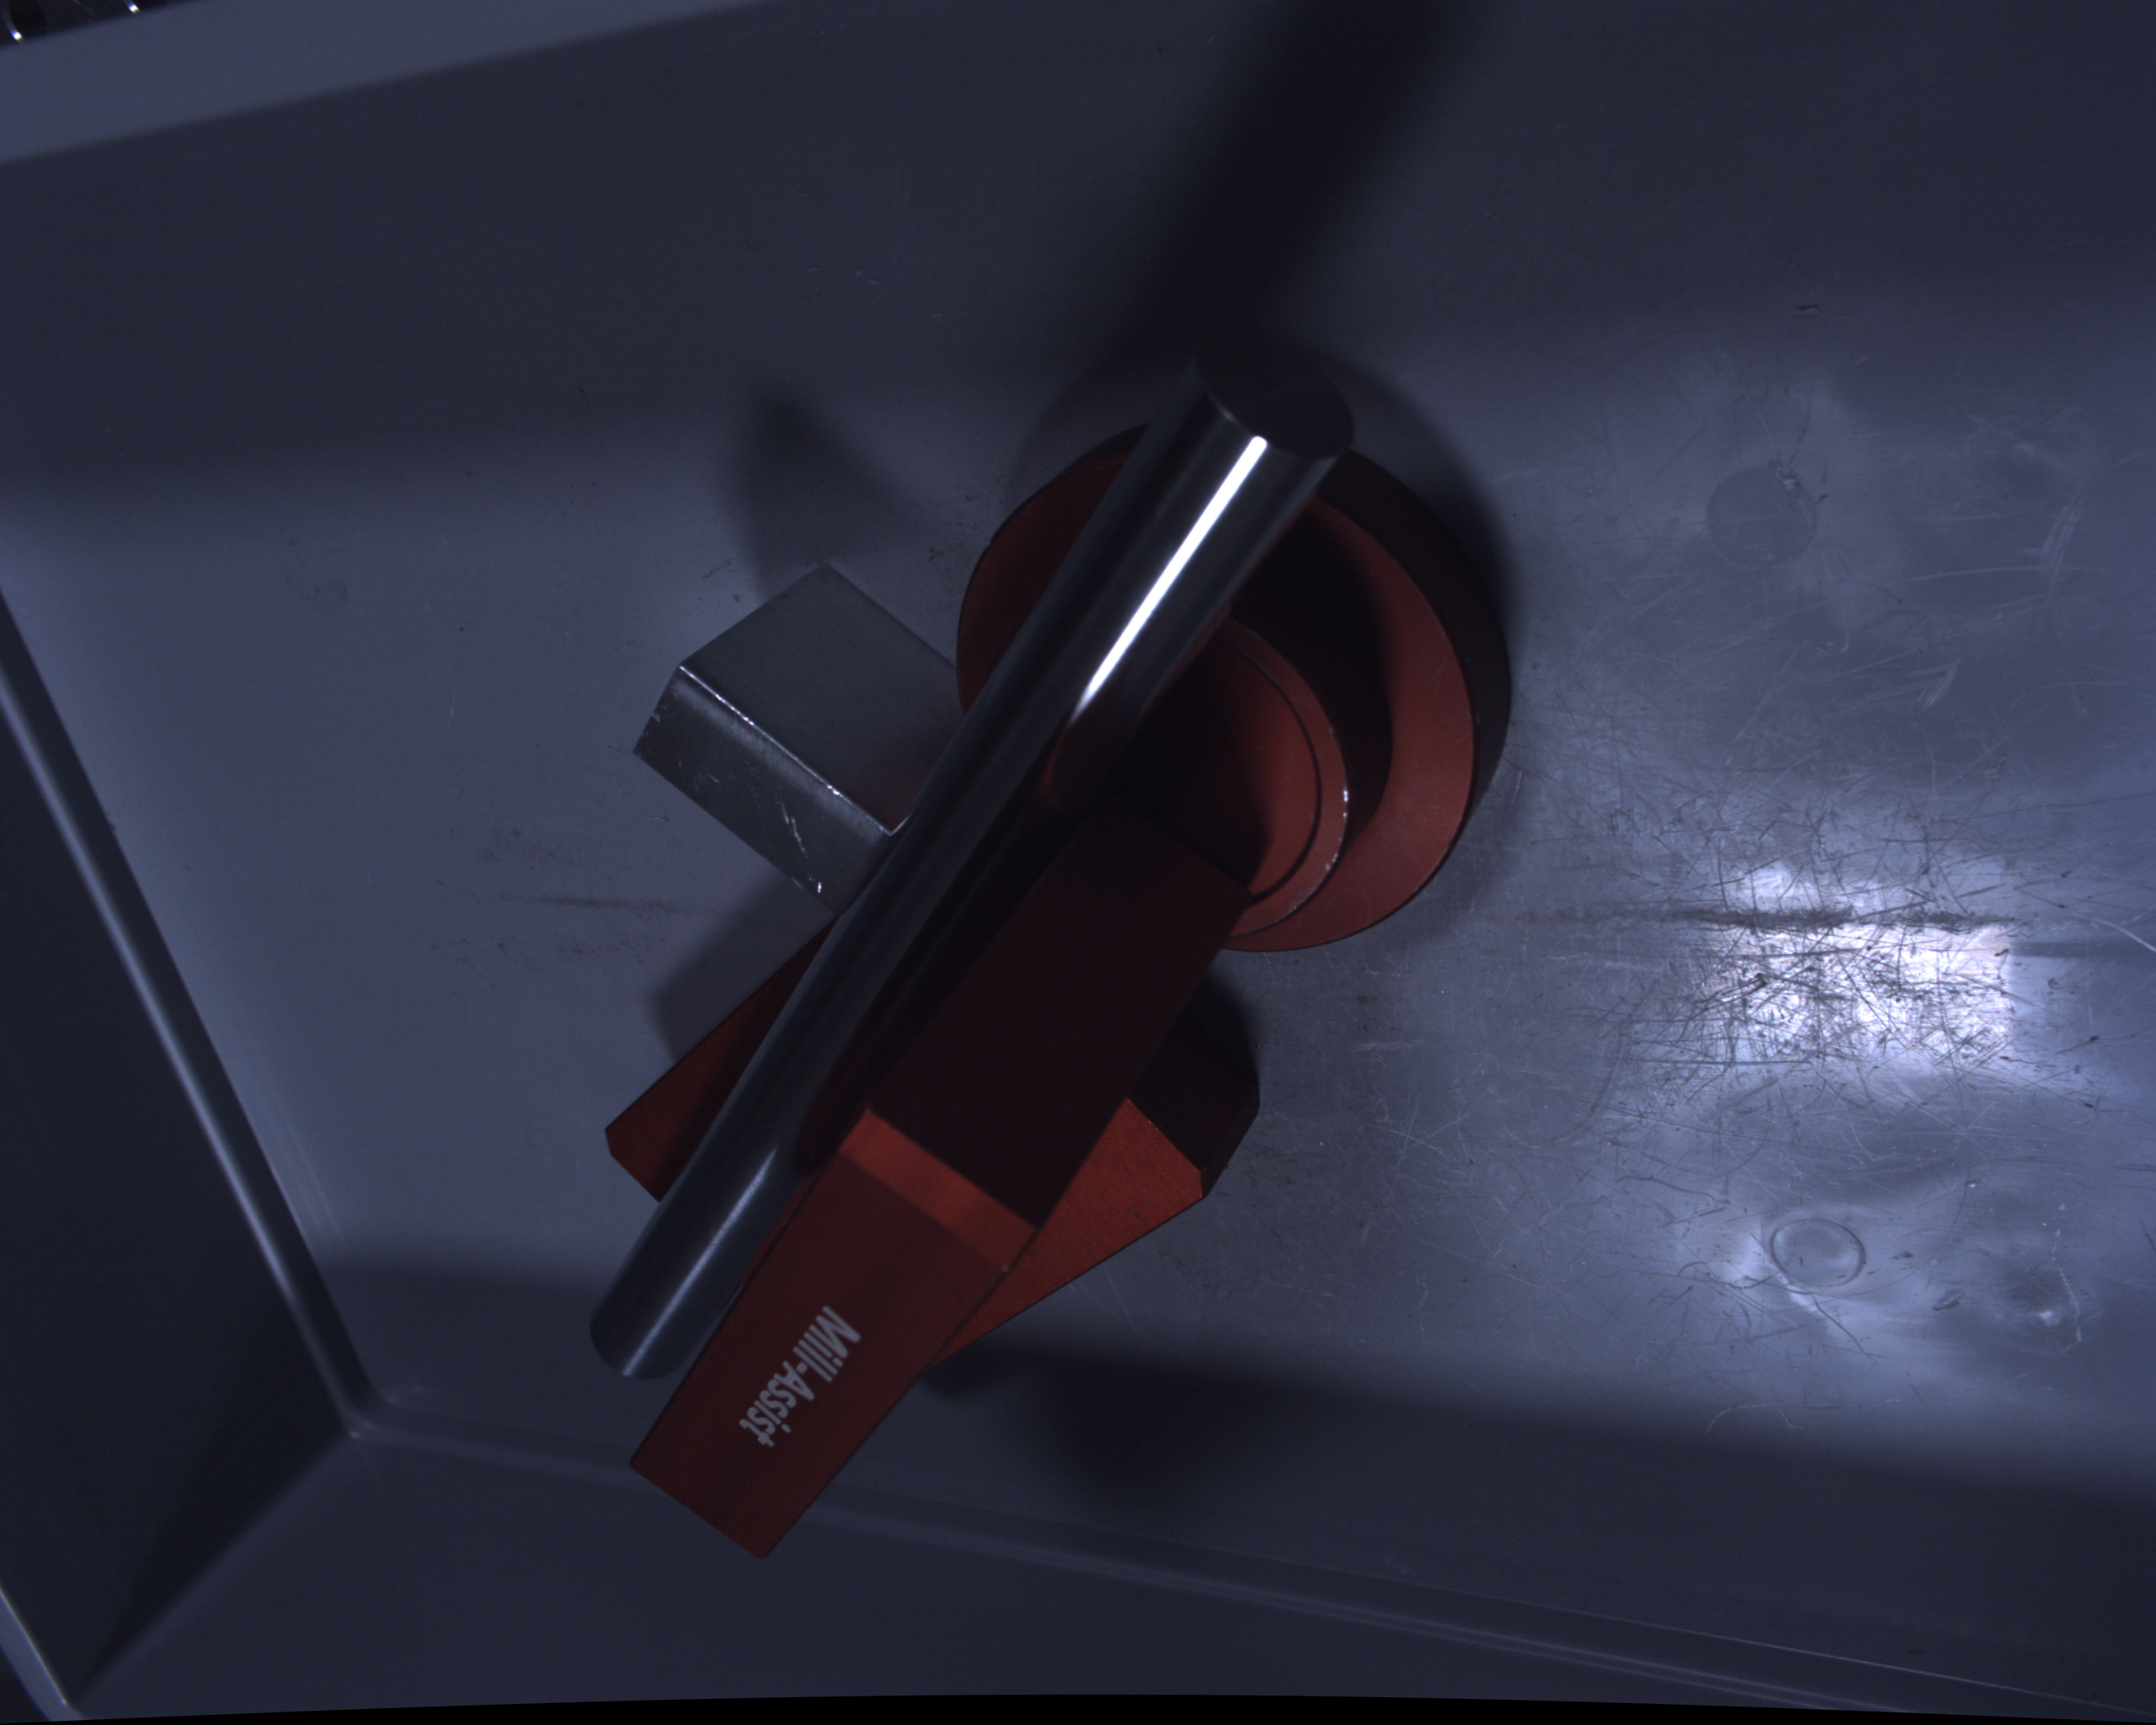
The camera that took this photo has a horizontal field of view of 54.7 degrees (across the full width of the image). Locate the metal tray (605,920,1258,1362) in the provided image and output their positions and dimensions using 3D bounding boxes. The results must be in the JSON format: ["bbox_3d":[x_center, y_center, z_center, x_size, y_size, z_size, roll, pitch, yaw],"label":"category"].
[{"bbox_3d":[-0.036,0.057,0.456,0.090,0.030,0.129,46,129,-5],"label":"metal tray"}]

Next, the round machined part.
[{"bbox_3d":[0.022,-0.025,0.367,0.098,0.042,0.097,13,124,20],"label":"round machined part"}]

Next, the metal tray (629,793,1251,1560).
[{"bbox_3d":[-0.026,0.057,0.363,0.030,0.090,0.129,36,135,1],"label":"metal tray"}]

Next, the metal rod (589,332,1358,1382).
[{"bbox_3d":[-0.037,0.023,0.389,0.025,0.025,0.298,38,133,2],"label":"metal rod"}]

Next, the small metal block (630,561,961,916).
[{"bbox_3d":[-0.047,-0.024,0.399,0.050,0.050,0.025,39,129,1],"label":"small metal block"}]
